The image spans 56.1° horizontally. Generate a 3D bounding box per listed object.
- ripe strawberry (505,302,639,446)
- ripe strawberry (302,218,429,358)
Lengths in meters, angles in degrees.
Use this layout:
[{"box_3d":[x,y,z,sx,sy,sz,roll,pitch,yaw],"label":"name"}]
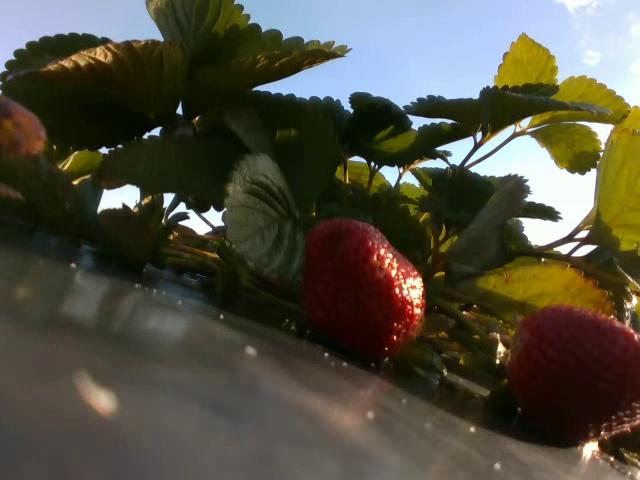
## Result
[{"box_3d":[0.078,0.034,0.170,0.043,0.039,0.053,41,-24,-8],"label":"ripe strawberry"},{"box_3d":[0.014,0.015,0.191,0.039,0.054,0.048,-28,38,1],"label":"ripe strawberry"}]
